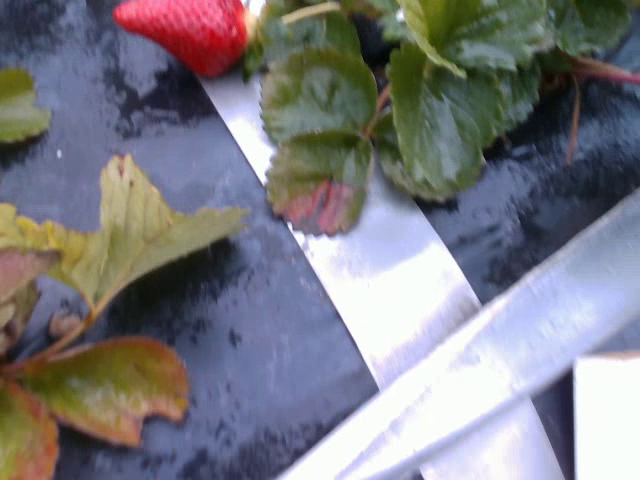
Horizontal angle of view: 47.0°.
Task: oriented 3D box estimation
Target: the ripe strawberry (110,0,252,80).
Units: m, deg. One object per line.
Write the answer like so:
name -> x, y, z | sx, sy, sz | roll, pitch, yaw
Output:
ripe strawberry -> -0.051, -0.081, 0.268 | 0.051, 0.042, 0.037 | -2, -7, -23
